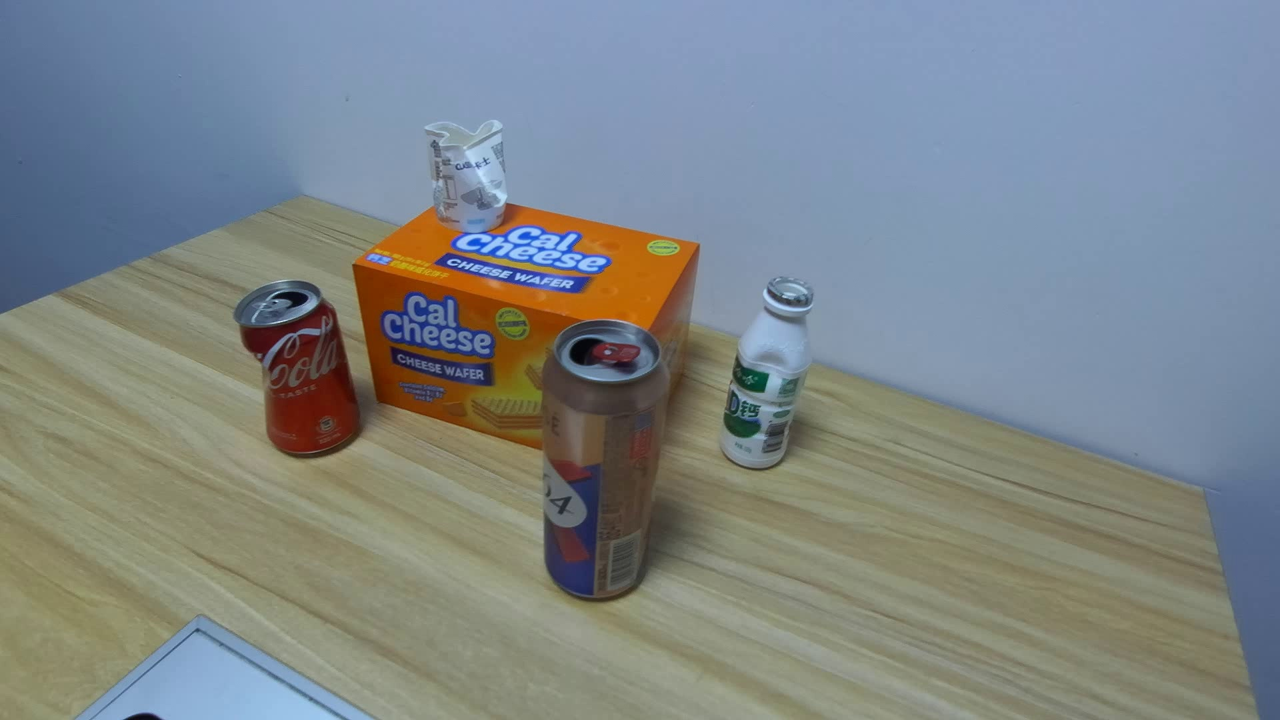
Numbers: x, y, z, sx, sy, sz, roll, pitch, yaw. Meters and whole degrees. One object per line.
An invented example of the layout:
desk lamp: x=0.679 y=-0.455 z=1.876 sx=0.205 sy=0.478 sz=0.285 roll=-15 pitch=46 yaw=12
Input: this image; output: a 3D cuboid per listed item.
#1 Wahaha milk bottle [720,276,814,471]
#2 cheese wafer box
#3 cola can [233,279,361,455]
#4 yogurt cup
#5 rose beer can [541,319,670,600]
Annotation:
Wahaha milk bottle: x=0.093 y=0.016 z=0.511 sx=0.053 sy=0.137 sz=0.053 roll=4 pitch=36 yaw=-3
cheese wafer box: x=-0.081 y=-0.030 z=0.564 sx=0.221 sy=0.129 sz=0.148 roll=14 pitch=38 yaw=12
cola can: x=-0.238 y=0.008 z=0.499 sx=0.066 sy=0.117 sz=0.072 roll=-8 pitch=36 yaw=-19
yogurt cup: x=-0.132 y=-0.143 z=0.544 sx=0.055 sy=0.072 sz=0.055 roll=-11 pitch=41 yaw=-22
rose beer can: x=-0.022 y=0.063 z=0.409 sx=0.069 sy=0.169 sz=0.068 roll=3 pitch=36 yaw=-2
